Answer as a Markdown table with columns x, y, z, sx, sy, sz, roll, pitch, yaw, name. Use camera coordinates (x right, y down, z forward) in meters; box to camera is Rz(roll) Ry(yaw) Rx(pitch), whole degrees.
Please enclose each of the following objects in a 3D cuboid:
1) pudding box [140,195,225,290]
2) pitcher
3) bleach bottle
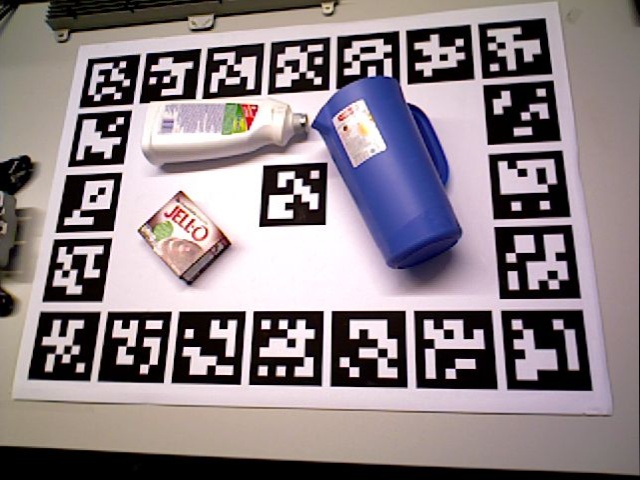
| x | y | z | sx | sy | sz | roll | pitch | yaw | name |
| --- | --- | --- | --- | --- | --- | --- | --- | --- | --- |
| -0.209 | 0.003 | 0.792 | 0.089 | 0.039 | 0.113 | -42 | 72 | -11 | pudding box |
| 0.106 | -0.075 | 0.736 | 0.185 | 0.136 | 0.242 | -14 | 72 | -32 | pitcher |
| -0.146 | -0.166 | 0.826 | 0.251 | 0.068 | 0.102 | -4 | 76 | 7 | bleach bottle |
